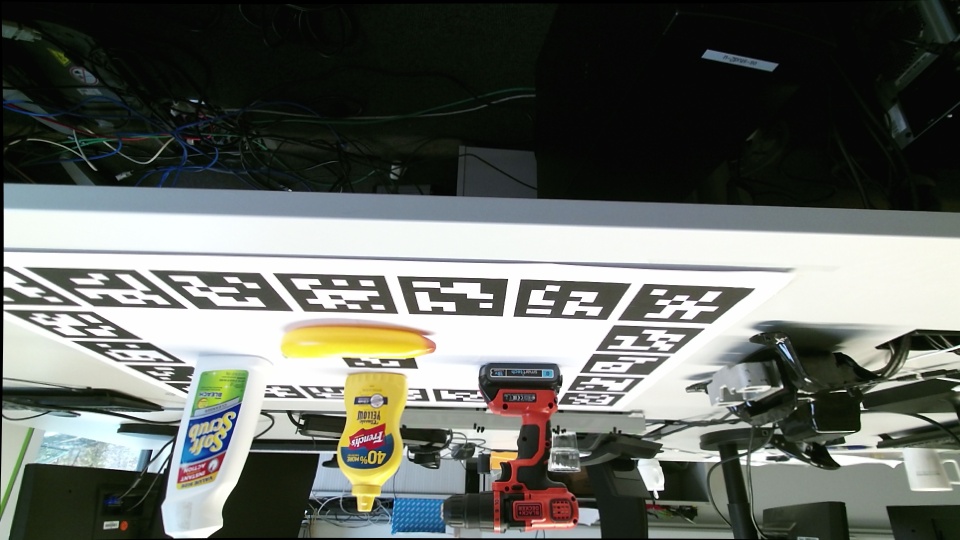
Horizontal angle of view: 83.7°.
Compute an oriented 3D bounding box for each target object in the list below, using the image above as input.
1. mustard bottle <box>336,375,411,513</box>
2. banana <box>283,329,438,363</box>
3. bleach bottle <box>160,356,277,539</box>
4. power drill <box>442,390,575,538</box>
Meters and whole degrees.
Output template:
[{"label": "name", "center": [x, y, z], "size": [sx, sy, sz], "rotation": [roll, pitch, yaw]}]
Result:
[{"label": "mustard bottle", "center": [-0.161, 0.254, 0.790], "size": [0.096, 0.190, 0.058], "rotation": [0, 151, 7]}, {"label": "banana", "center": [-0.150, 0.095, 0.633], "size": [0.198, 0.038, 0.074], "rotation": [-3, 149, 3]}, {"label": "bleach bottle", "center": [-0.352, 0.244, 0.716], "size": [0.103, 0.249, 0.068], "rotation": [6, 151, -7]}, {"label": "power drill", "center": [0.029, 0.265, 0.736], "size": [0.185, 0.186, 0.057], "rotation": [-4, 151, 2]}]
